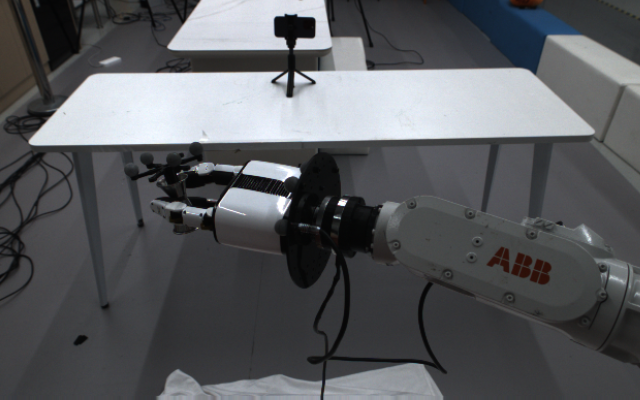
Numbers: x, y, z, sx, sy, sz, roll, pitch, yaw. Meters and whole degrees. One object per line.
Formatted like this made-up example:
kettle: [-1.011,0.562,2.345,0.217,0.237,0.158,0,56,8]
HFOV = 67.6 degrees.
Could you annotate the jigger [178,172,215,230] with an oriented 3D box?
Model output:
jigger: [-0.177,0.005,0.625,0.043,0.071,0.043,-12,25,5]
